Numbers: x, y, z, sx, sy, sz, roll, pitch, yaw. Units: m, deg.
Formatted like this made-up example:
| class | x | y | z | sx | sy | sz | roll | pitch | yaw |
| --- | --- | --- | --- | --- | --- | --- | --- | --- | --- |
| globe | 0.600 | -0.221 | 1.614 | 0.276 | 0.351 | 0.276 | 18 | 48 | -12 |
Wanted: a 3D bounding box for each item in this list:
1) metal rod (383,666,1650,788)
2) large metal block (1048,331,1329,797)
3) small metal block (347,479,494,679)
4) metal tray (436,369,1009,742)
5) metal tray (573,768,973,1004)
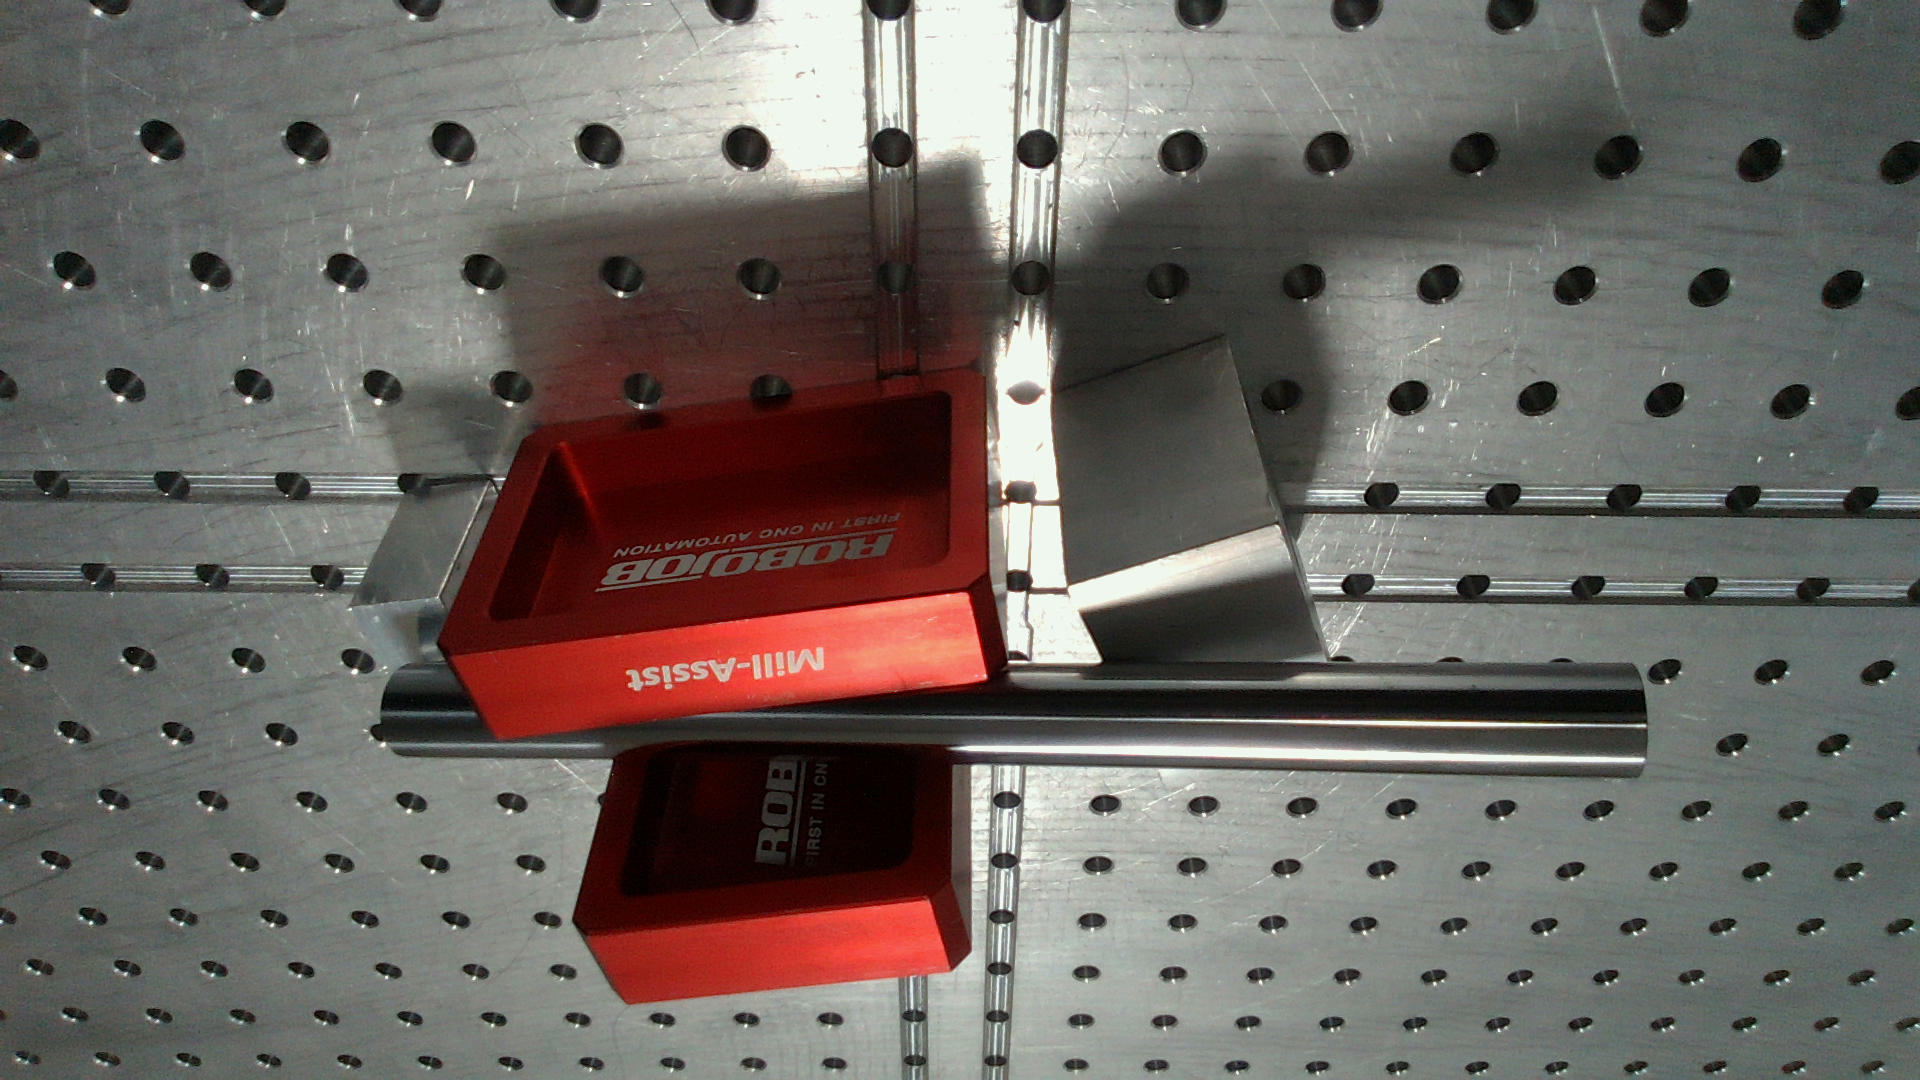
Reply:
| class | x | y | z | sx | sy | sz | roll | pitch | yaw |
| --- | --- | --- | --- | --- | --- | --- | --- | --- | --- |
| metal rod | 0.000 | 0.044 | 0.332 | 0.299 | 0.025 | 0.025 | -1 | 131 | 13 |
| large metal block | 0.062 | 0.006 | 0.362 | 0.050 | 0.080 | 0.080 | -18 | 128 | 14 |
| small metal block | -0.144 | 0.019 | 0.392 | 0.025 | 0.050 | 0.050 | -6 | 130 | 5 |
| metal tray | -0.055 | 0.001 | 0.351 | 0.130 | 0.090 | 0.030 | -7 | 131 | 6 |
| metal tray | -0.044 | 0.055 | 0.371 | 0.090 | 0.130 | 0.030 | -7 | 130 | 6 |
